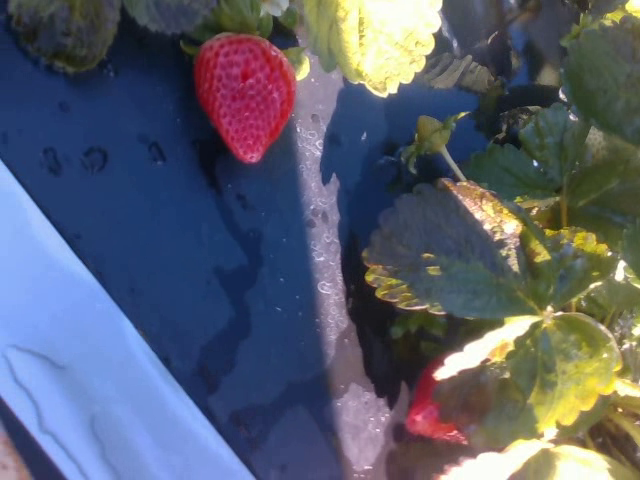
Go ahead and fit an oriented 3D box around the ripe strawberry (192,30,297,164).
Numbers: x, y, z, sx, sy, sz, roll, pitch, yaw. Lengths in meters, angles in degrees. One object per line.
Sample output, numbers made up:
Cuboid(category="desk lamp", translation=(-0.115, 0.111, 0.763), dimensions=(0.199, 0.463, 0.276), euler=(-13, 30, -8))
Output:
Cuboid(category="ripe strawberry", translation=(-0.027, -0.052, 0.234), dimensions=(0.046, 0.058, 0.042), euler=(1, -12, 8))
